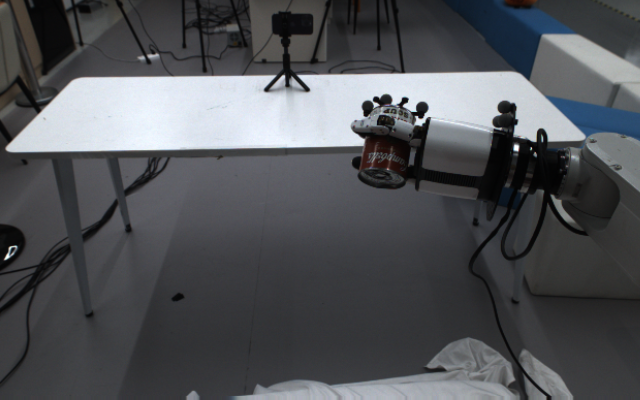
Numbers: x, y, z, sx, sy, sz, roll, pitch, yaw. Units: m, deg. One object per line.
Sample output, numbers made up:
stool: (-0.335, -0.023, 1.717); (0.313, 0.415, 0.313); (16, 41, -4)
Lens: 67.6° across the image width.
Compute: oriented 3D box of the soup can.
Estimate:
soup can: (0.096, -0.075, 0.682); (0.067, 0.067, 0.101); (9, 71, 9)
